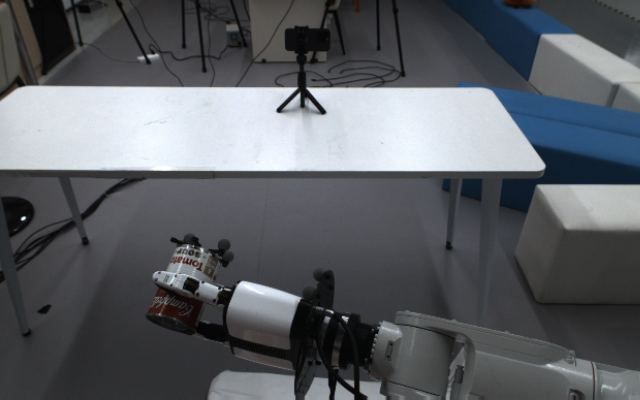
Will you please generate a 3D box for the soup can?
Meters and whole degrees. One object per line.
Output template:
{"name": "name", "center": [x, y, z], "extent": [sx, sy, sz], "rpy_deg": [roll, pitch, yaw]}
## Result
{"name": "soup can", "center": [-0.179, 0.121, 0.650], "extent": [0.067, 0.067, 0.101], "rpy_deg": [9, 60, 10]}
